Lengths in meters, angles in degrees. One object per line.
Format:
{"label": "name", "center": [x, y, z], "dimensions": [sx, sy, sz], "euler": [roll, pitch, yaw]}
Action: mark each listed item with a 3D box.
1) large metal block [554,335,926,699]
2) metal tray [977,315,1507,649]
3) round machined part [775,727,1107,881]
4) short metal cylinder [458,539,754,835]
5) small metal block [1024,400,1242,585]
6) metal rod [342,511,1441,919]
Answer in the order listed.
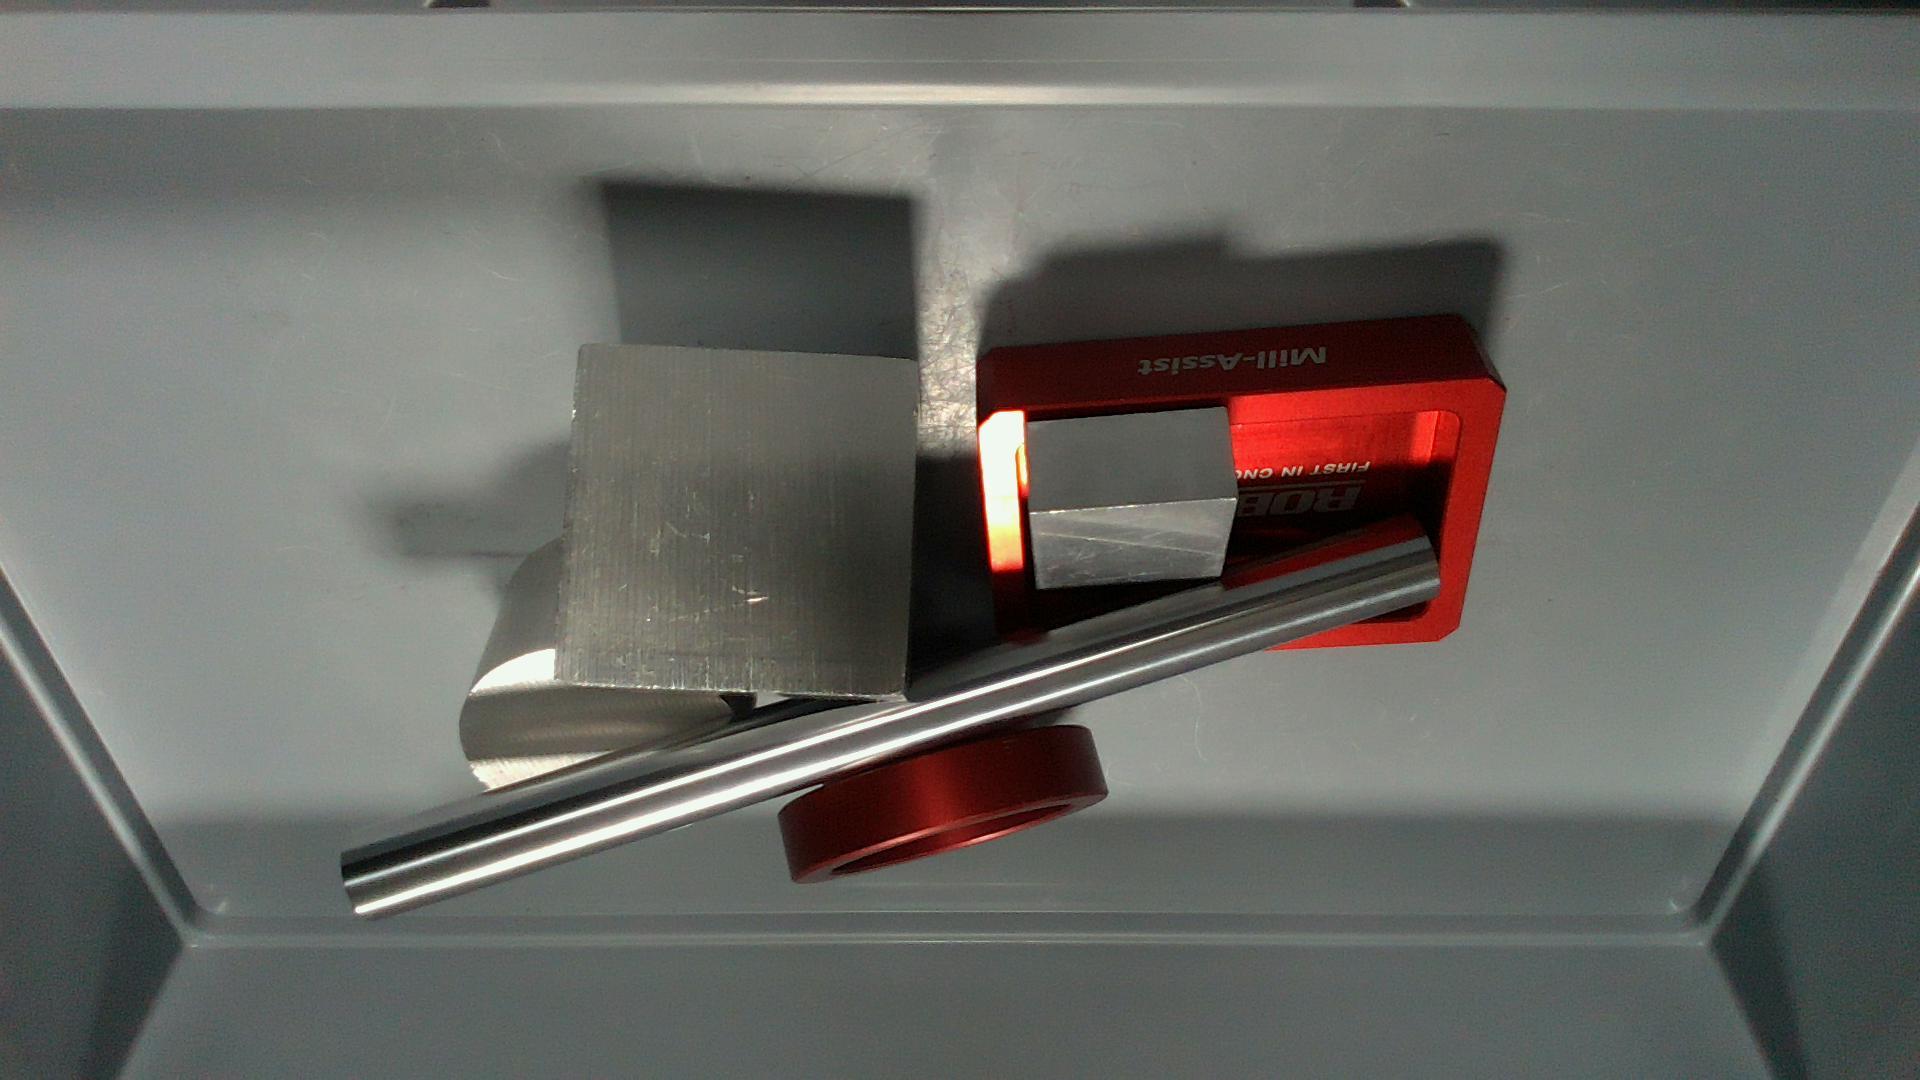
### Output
{"label": "large metal block", "center": [-0.050, -0.003, 0.341], "dimensions": [0.080, 0.080, 0.050], "euler": [3, 172, -1]}
{"label": "metal tray", "center": [0.073, -0.011, 0.376], "dimensions": [0.130, 0.030, 0.090], "euler": [-4, 130, 3]}
{"label": "round machined part", "center": [-0.008, 0.071, 0.416], "dimensions": [0.098, 0.042, 0.098], "euler": [-14, 164, -4]}
{"label": "short metal cylinder", "center": [-0.101, 0.043, 0.408], "dimensions": [0.080, 0.050, 0.080], "euler": [0, 130, 0]}
{"label": "small metal block", "center": [0.043, -0.011, 0.352], "dimensions": [0.050, 0.025, 0.050], "euler": [-4, 156, 3]}
{"label": "metal rod", "center": [-0.018, 0.047, 0.375], "dimensions": [0.300, 0.025, 0.025], "euler": [-17, 129, 0]}
